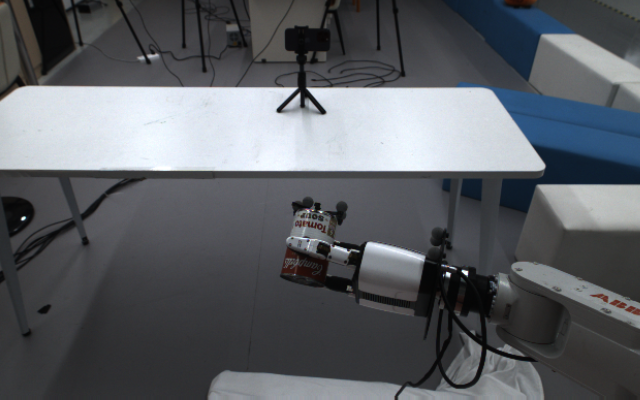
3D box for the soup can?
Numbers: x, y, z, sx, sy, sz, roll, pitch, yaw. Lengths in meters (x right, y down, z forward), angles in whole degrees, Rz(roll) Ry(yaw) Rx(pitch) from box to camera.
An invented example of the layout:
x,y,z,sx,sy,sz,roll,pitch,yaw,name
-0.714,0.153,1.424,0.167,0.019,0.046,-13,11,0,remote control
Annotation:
x,y,z,sx,sy,sz,roll,pitch,yaw,name
-0.014,0.070,0.715,0.067,0.067,0.101,9,72,10,soup can
